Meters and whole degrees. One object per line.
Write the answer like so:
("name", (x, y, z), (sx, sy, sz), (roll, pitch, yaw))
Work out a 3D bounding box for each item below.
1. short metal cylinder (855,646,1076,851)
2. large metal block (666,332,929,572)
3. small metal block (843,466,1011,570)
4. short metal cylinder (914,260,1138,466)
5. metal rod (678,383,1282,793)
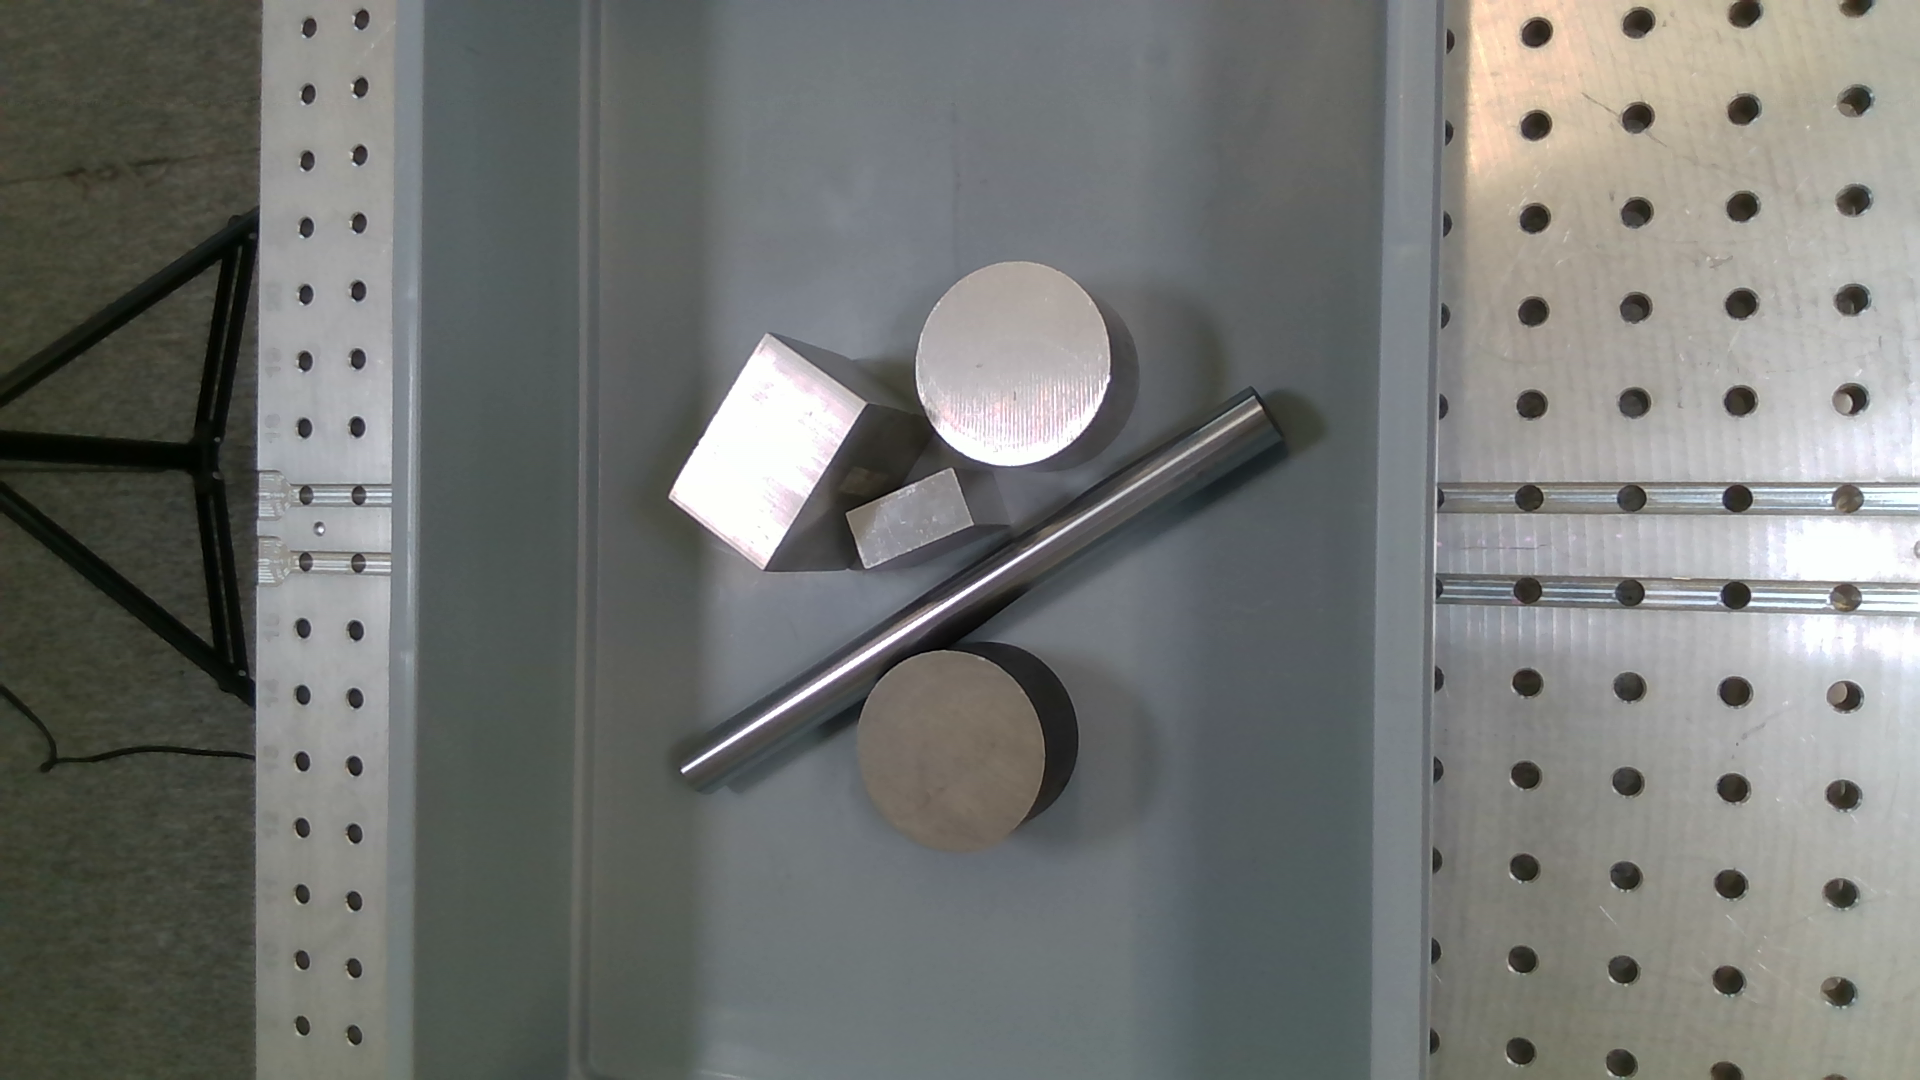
("short metal cylinder", (0.004, 0.084, 0.571), (0.080, 0.050, 0.080), (0, 91, 20))
("large metal block", (-0.064, -0.034, 0.578), (0.050, 0.080, 0.080), (36, 102, 17))
("small metal block", (-0.013, -0.009, 0.576), (0.050, 0.050, 0.025), (-23, 83, 19))
("short metal cylinder", (0.028, -0.069, 0.560), (0.080, 0.050, 0.080), (0, 91, 20))
("metal rod", (0.000, 0.027, 0.585), (0.300, 0.025, 0.025), (-33, 79, 18))
